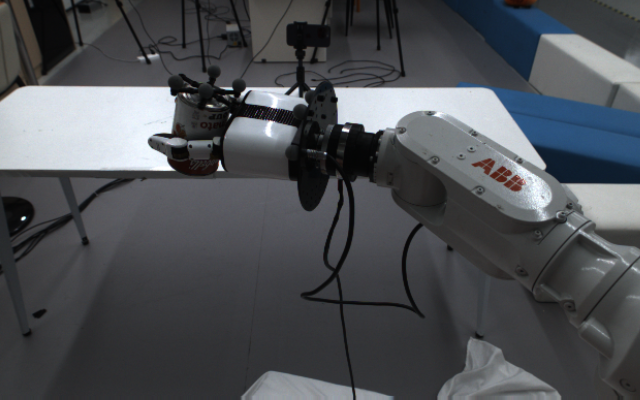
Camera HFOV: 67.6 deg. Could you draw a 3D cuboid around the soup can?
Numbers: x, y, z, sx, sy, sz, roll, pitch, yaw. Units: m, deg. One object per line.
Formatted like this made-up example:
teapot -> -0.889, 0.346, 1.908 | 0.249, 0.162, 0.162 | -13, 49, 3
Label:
soup can -> -0.155, -0.089, 0.619 | 0.067, 0.101, 0.067 | 14, 36, -11
